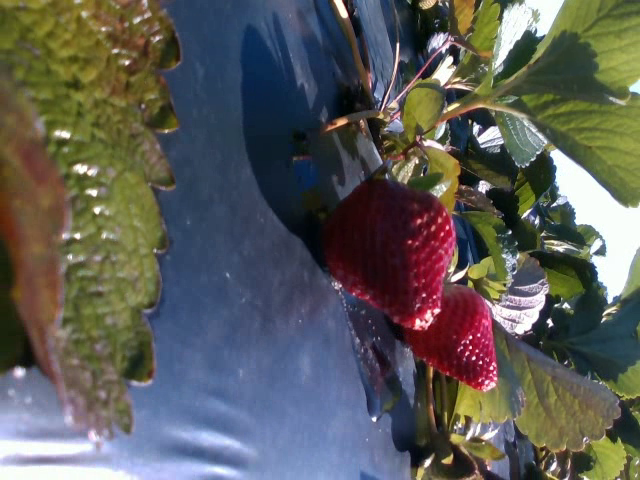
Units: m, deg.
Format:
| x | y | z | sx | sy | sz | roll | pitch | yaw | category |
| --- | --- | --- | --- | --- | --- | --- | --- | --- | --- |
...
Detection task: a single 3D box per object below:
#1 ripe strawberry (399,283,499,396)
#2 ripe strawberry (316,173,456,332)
| x | y | z | sx | sy | sz | roll | pitch | yaw | category |
| --- | --- | --- | --- | --- | --- | --- | --- | --- | --- |
| 0.055 | 0.041 | 0.224 | 0.042 | 0.049 | 0.039 | -9 | -32 | -37 | ripe strawberry |
| 0.024 | 0.007 | 0.167 | 0.044 | 0.051 | 0.050 | -19 | 43 | -4 | ripe strawberry |
